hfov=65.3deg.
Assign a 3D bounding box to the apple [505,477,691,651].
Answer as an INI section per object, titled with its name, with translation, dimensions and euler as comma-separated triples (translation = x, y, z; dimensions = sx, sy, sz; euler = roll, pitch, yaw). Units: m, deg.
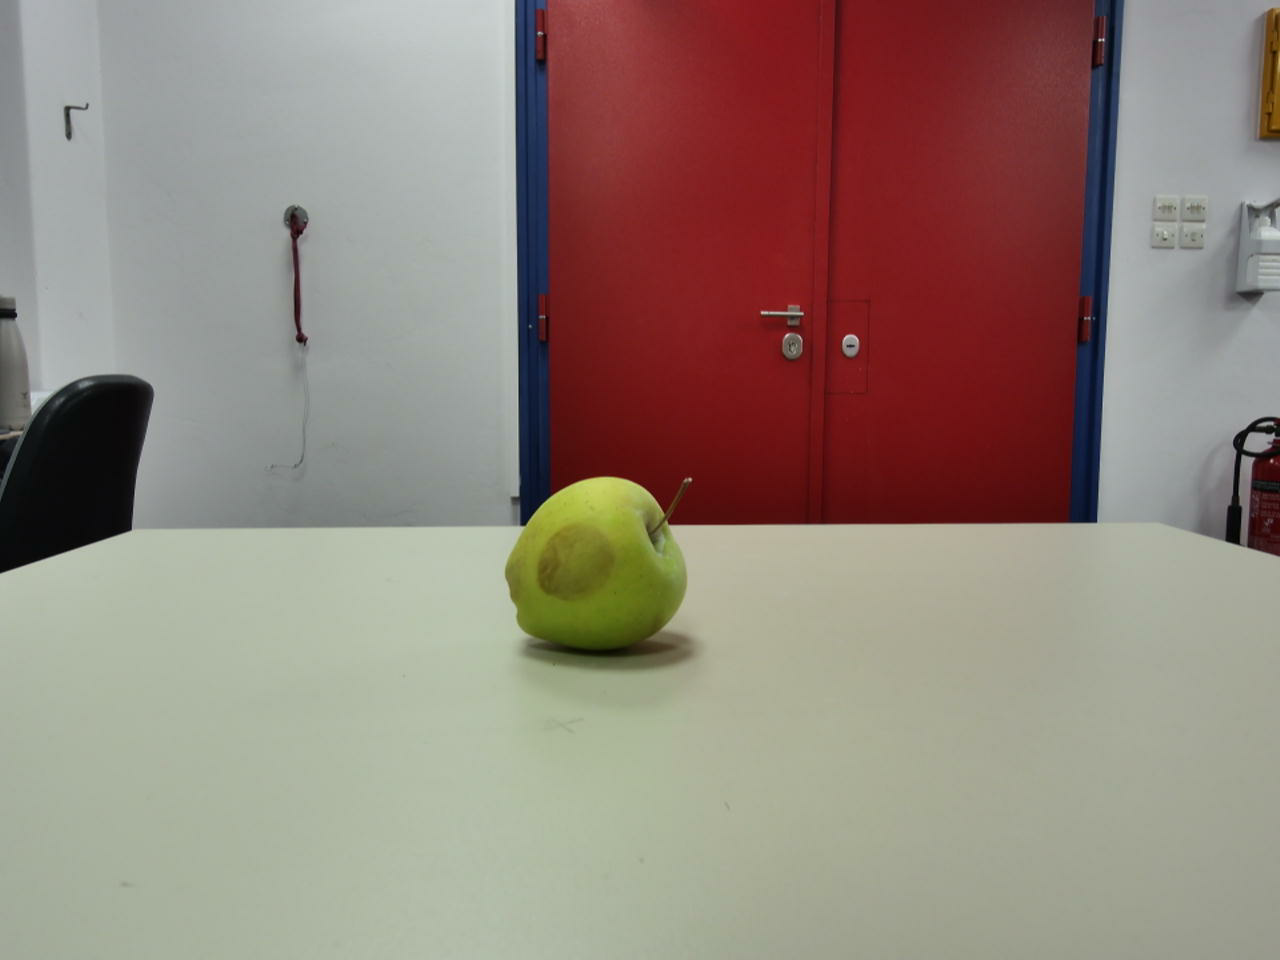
[apple]
translation = -0.018, 0.036, 0.442
dimensions = 0.077, 0.075, 0.072
euler = 4, 6, 43
